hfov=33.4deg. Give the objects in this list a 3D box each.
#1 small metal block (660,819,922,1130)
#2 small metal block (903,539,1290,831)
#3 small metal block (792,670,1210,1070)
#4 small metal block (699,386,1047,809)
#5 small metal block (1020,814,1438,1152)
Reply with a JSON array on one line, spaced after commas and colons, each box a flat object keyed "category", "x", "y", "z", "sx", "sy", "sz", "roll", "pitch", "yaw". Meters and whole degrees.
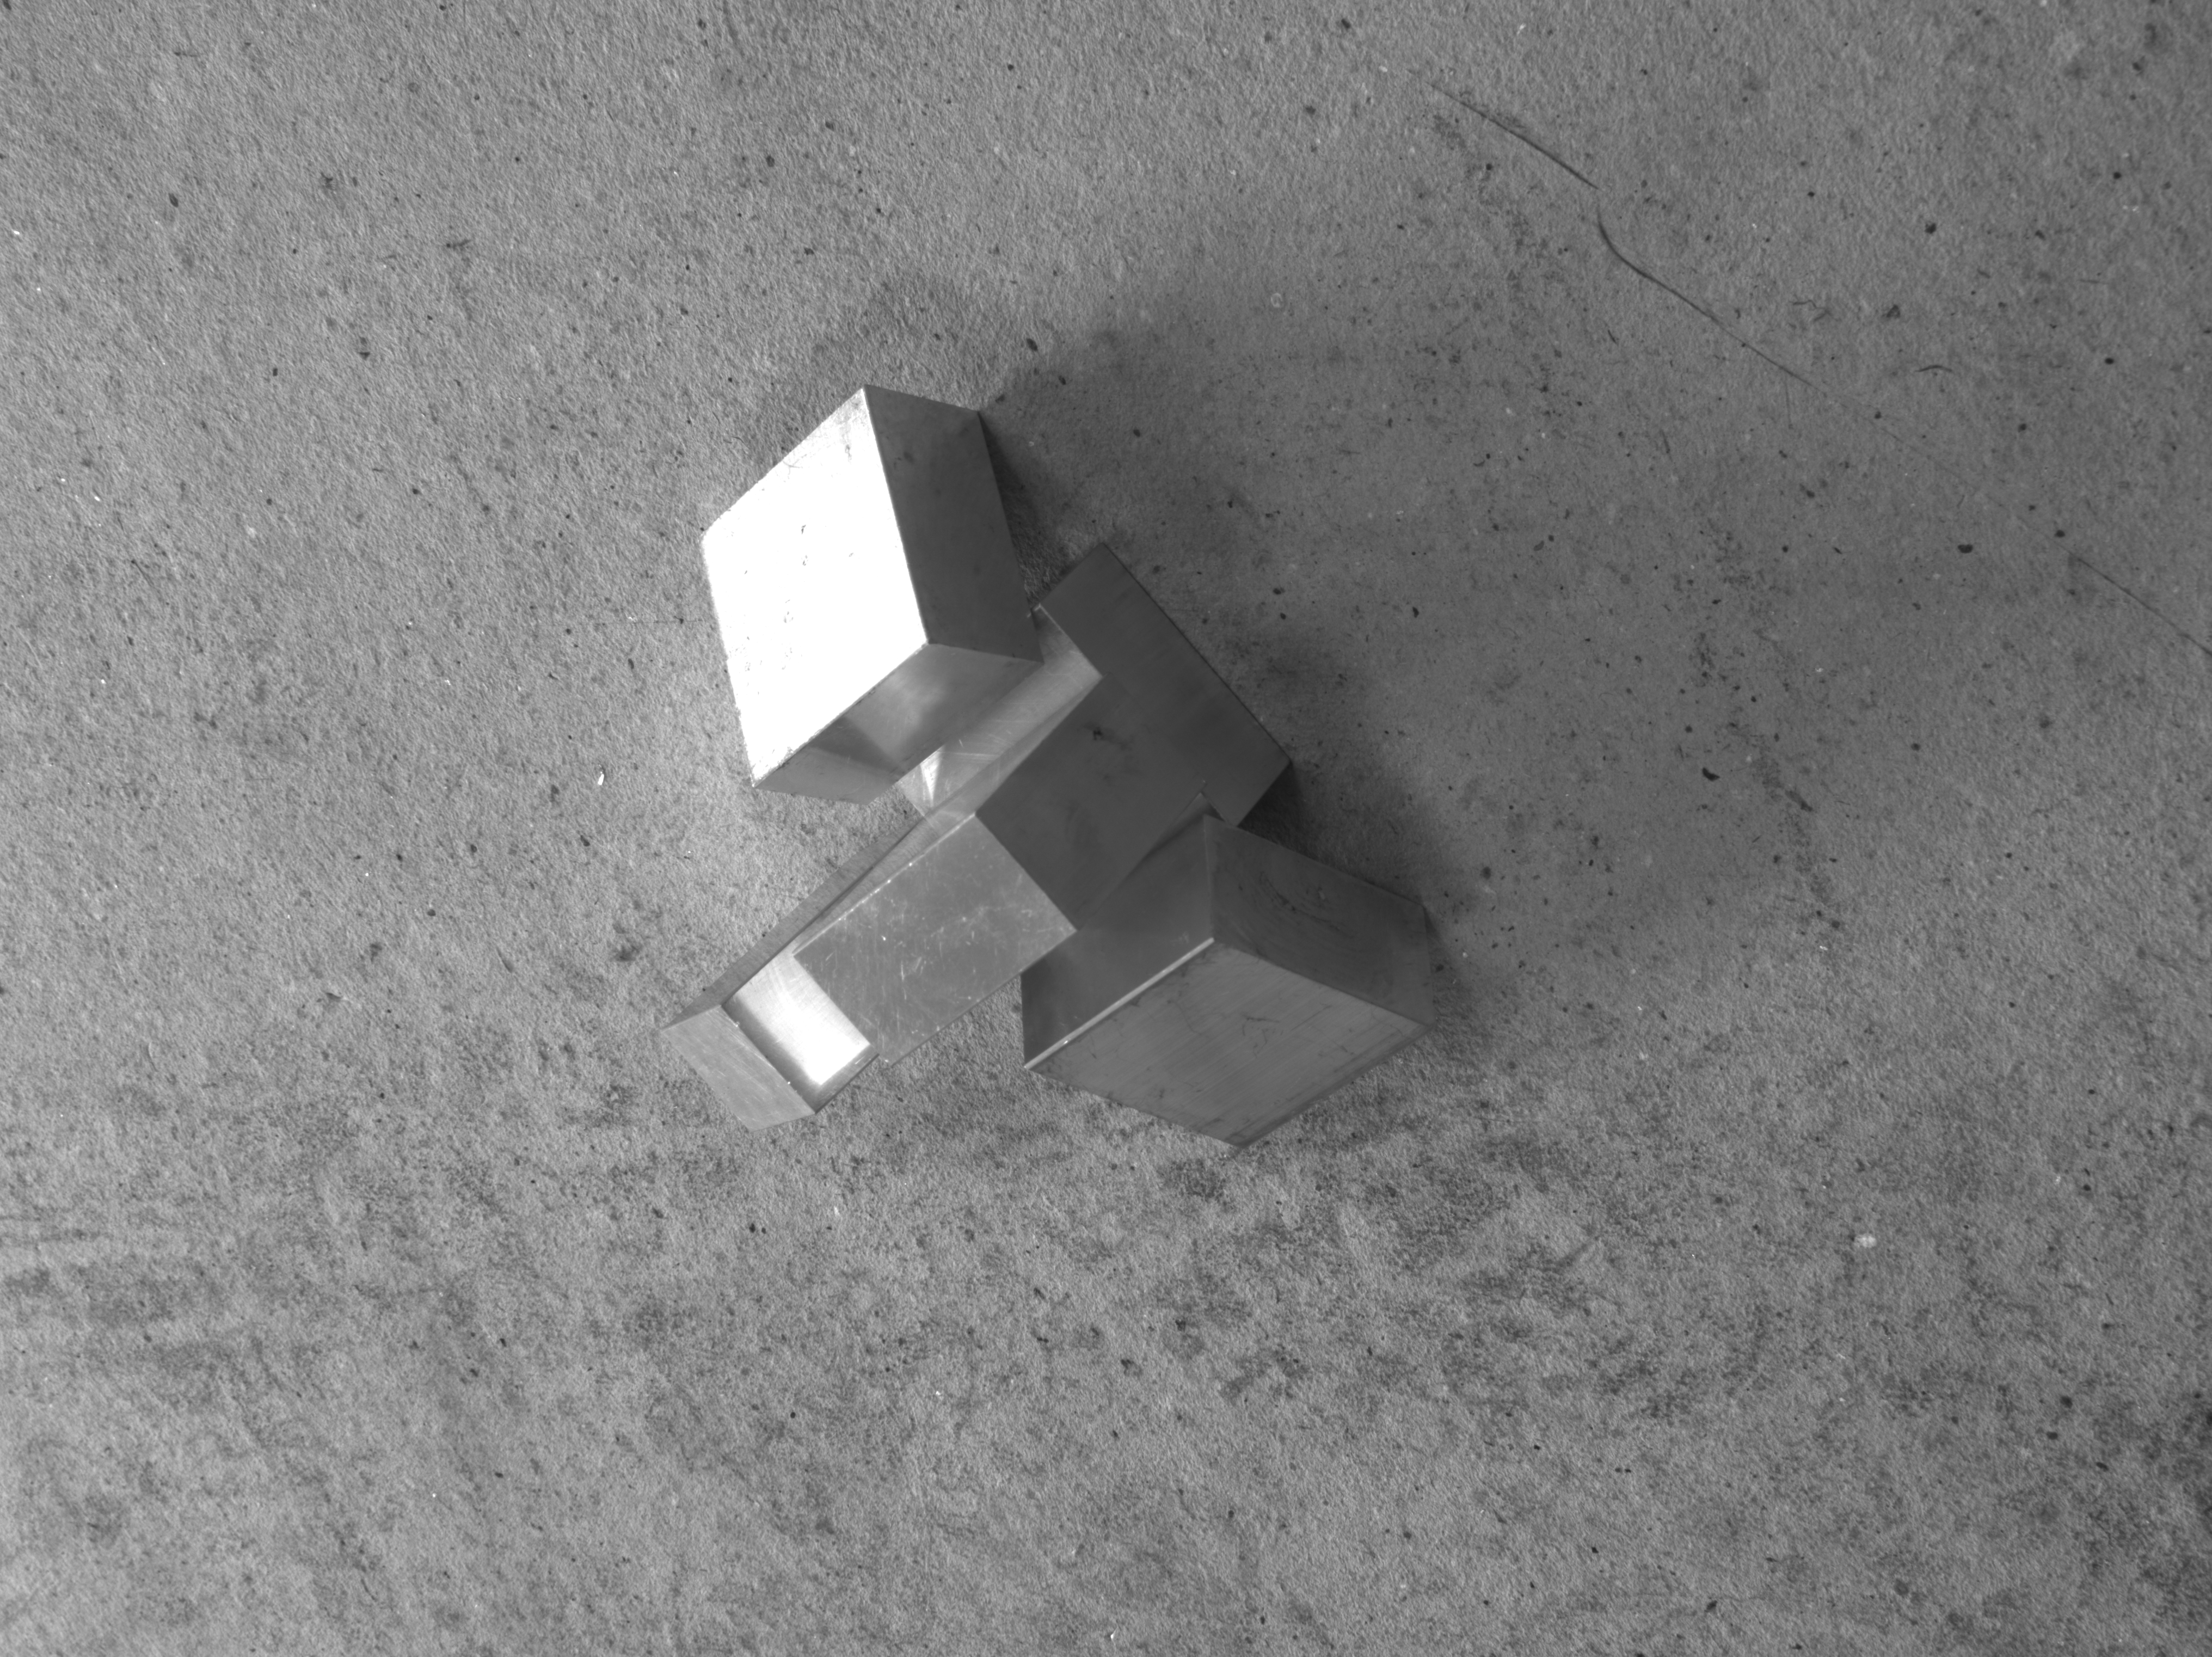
[{"category": "small metal block", "x": -0.048, "y": 0.027, "z": 0.657, "sx": 0.025, "sy": 0.050, "sz": 0.050, "roll": 49, "pitch": 161, "yaw": -6}, {"category": "small metal block", "x": -0.005, "y": -0.013, "z": 0.638, "sx": 0.050, "sy": 0.025, "sz": 0.050, "roll": 49, "pitch": 131, "yaw": -6}, {"category": "small metal block", "x": -0.017, "y": 0.007, "z": 0.608, "sx": 0.025, "sy": 0.050, "sz": 0.050, "roll": 48, "pitch": 129, "yaw": -6}, {"category": "small metal block", "x": -0.040, "y": -0.038, "z": 0.625, "sx": 0.050, "sy": 0.025, "sz": 0.050, "roll": -36, "pitch": 58, "yaw": 39}, {"category": "small metal block", "x": 0.020, "y": 0.028, "z": 0.632, "sx": 0.050, "sy": 0.025, "sz": 0.050, "roll": 22, "pitch": 138, "yaw": -32}]
